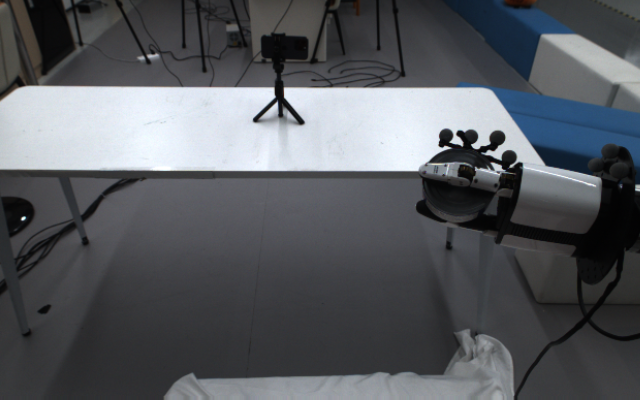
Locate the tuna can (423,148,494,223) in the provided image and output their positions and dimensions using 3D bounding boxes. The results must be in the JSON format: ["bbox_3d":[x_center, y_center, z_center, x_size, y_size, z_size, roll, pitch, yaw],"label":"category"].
[{"bbox_3d":[0.168,-0.020,0.583,0.085,0.034,0.085,-4,65,10],"label":"tuna can"}]
